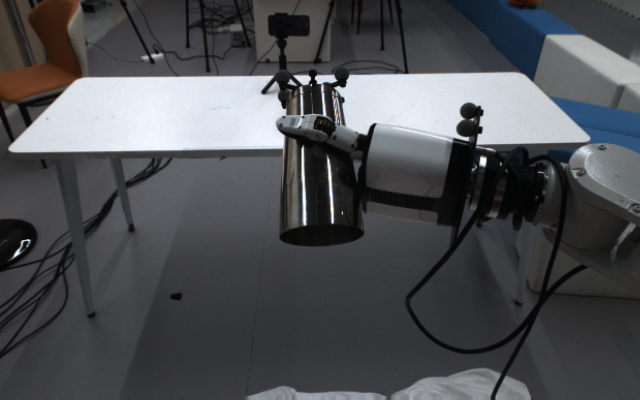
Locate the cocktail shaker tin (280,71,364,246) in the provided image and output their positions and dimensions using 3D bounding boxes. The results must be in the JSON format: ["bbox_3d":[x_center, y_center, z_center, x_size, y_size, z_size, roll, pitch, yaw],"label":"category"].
[{"bbox_3d":[-0.002,-0.040,0.548,0.093,0.093,0.170,-2,71,-6],"label":"cocktail shaker tin"}]
